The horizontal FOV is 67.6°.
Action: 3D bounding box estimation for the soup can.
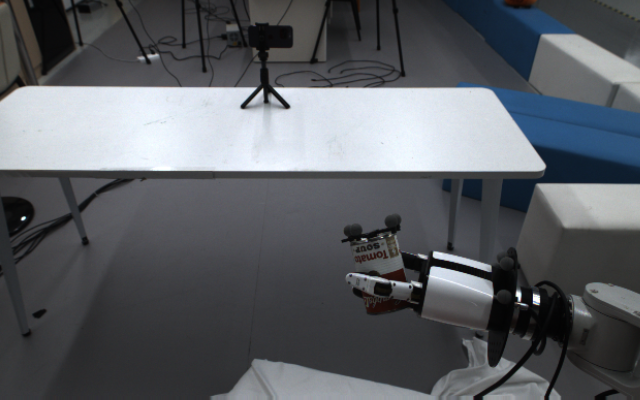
[{"bbox_3d":[0.086,0.100,0.674,0.067,0.101,0.067,-14,-2,-1],"label":"soup can"}]
